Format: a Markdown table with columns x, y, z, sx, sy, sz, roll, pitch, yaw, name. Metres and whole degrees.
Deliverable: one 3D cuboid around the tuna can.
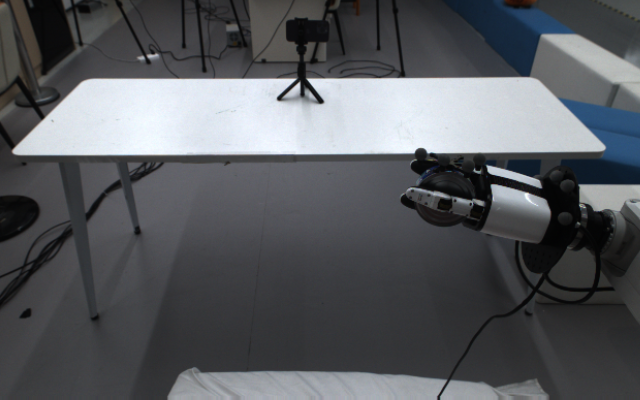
| x | y | z | sx | sy | sz | roll | pitch | yaw | name |
| --- | --- | --- | --- | --- | --- | --- | --- | --- | --- |
| 0.179 | -0.008 | 0.695 | 0.085 | 0.085 | 0.034 | 7 | 22 | 7 | tuna can |
